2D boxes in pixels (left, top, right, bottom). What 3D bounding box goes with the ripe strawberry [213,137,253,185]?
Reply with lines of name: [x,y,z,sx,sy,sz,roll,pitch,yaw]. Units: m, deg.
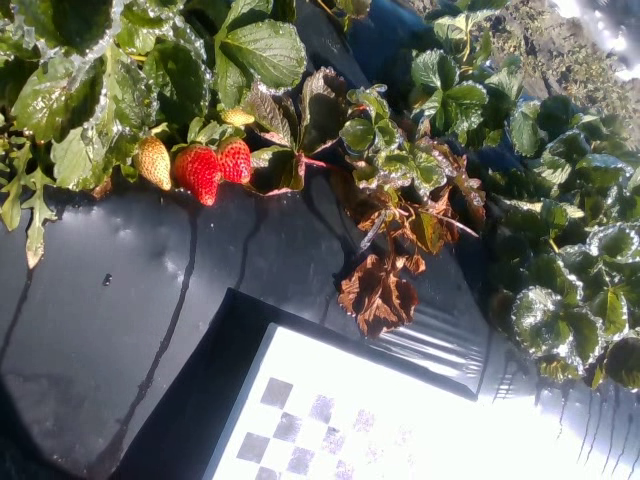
ripe strawberry: [-0.067,-0.062,0.489,0.036,0.041,0.030,-41,16,-16]

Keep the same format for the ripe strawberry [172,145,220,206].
ripe strawberry: [-0.089,-0.044,0.461,0.036,0.052,0.040,-17,-25,-24]
